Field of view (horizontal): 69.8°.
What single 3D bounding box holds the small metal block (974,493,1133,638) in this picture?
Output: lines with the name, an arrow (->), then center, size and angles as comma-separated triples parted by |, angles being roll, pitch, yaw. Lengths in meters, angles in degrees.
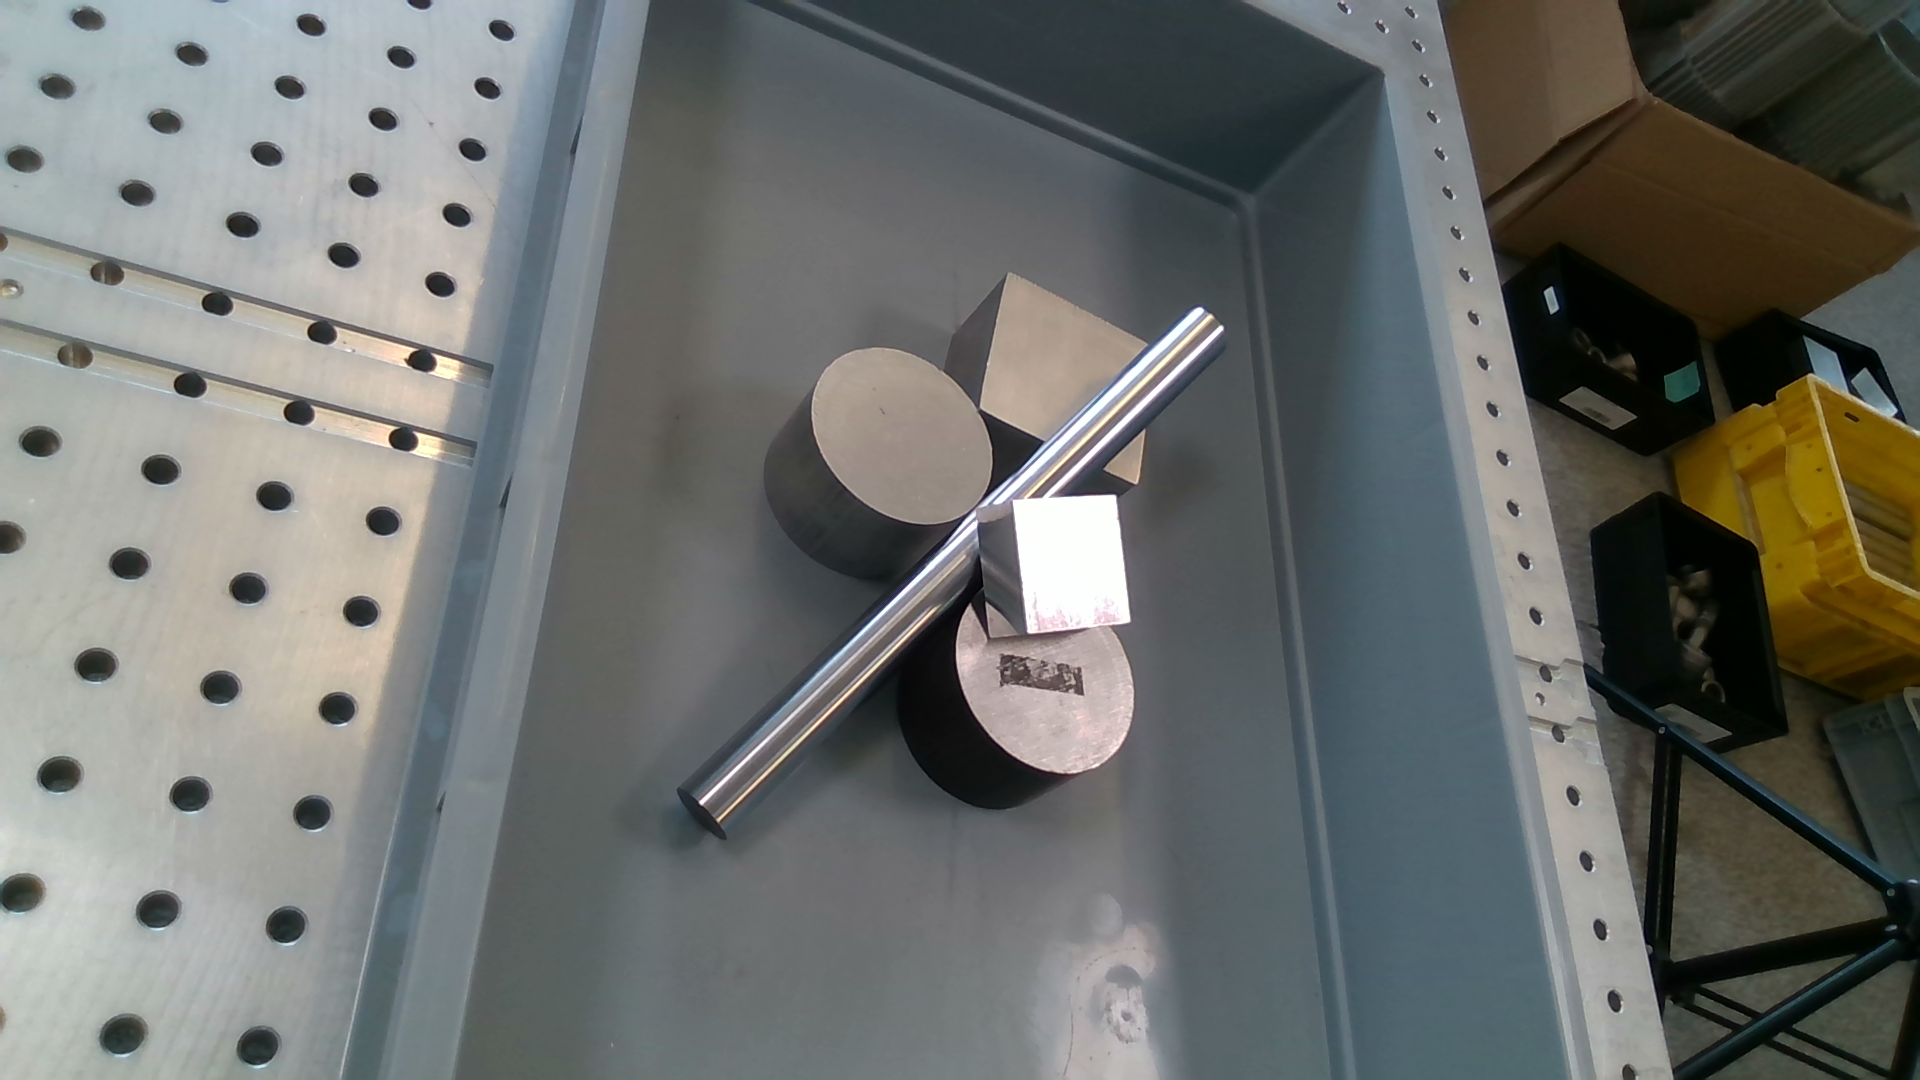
small metal block -> 0.036, 0.010, 0.528 | 0.050, 0.025, 0.050 | -4, 86, -33

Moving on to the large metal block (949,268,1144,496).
large metal block -> 0.037, -0.062, 0.622 | 0.080, 0.050, 0.080 | 24, 55, -19

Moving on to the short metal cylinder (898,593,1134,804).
short metal cylinder -> 0.022, 0.061, 0.550 | 0.080, 0.050, 0.080 | 14, 59, -25

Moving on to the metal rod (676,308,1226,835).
metal rod -> 0.008, 0.001, 0.544 | 0.025, 0.025, 0.299 | 47, 65, -1

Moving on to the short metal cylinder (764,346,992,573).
short metal cylinder -> -0.034, -0.032, 0.565 | 0.080, 0.050, 0.080 | 14, 59, -25
